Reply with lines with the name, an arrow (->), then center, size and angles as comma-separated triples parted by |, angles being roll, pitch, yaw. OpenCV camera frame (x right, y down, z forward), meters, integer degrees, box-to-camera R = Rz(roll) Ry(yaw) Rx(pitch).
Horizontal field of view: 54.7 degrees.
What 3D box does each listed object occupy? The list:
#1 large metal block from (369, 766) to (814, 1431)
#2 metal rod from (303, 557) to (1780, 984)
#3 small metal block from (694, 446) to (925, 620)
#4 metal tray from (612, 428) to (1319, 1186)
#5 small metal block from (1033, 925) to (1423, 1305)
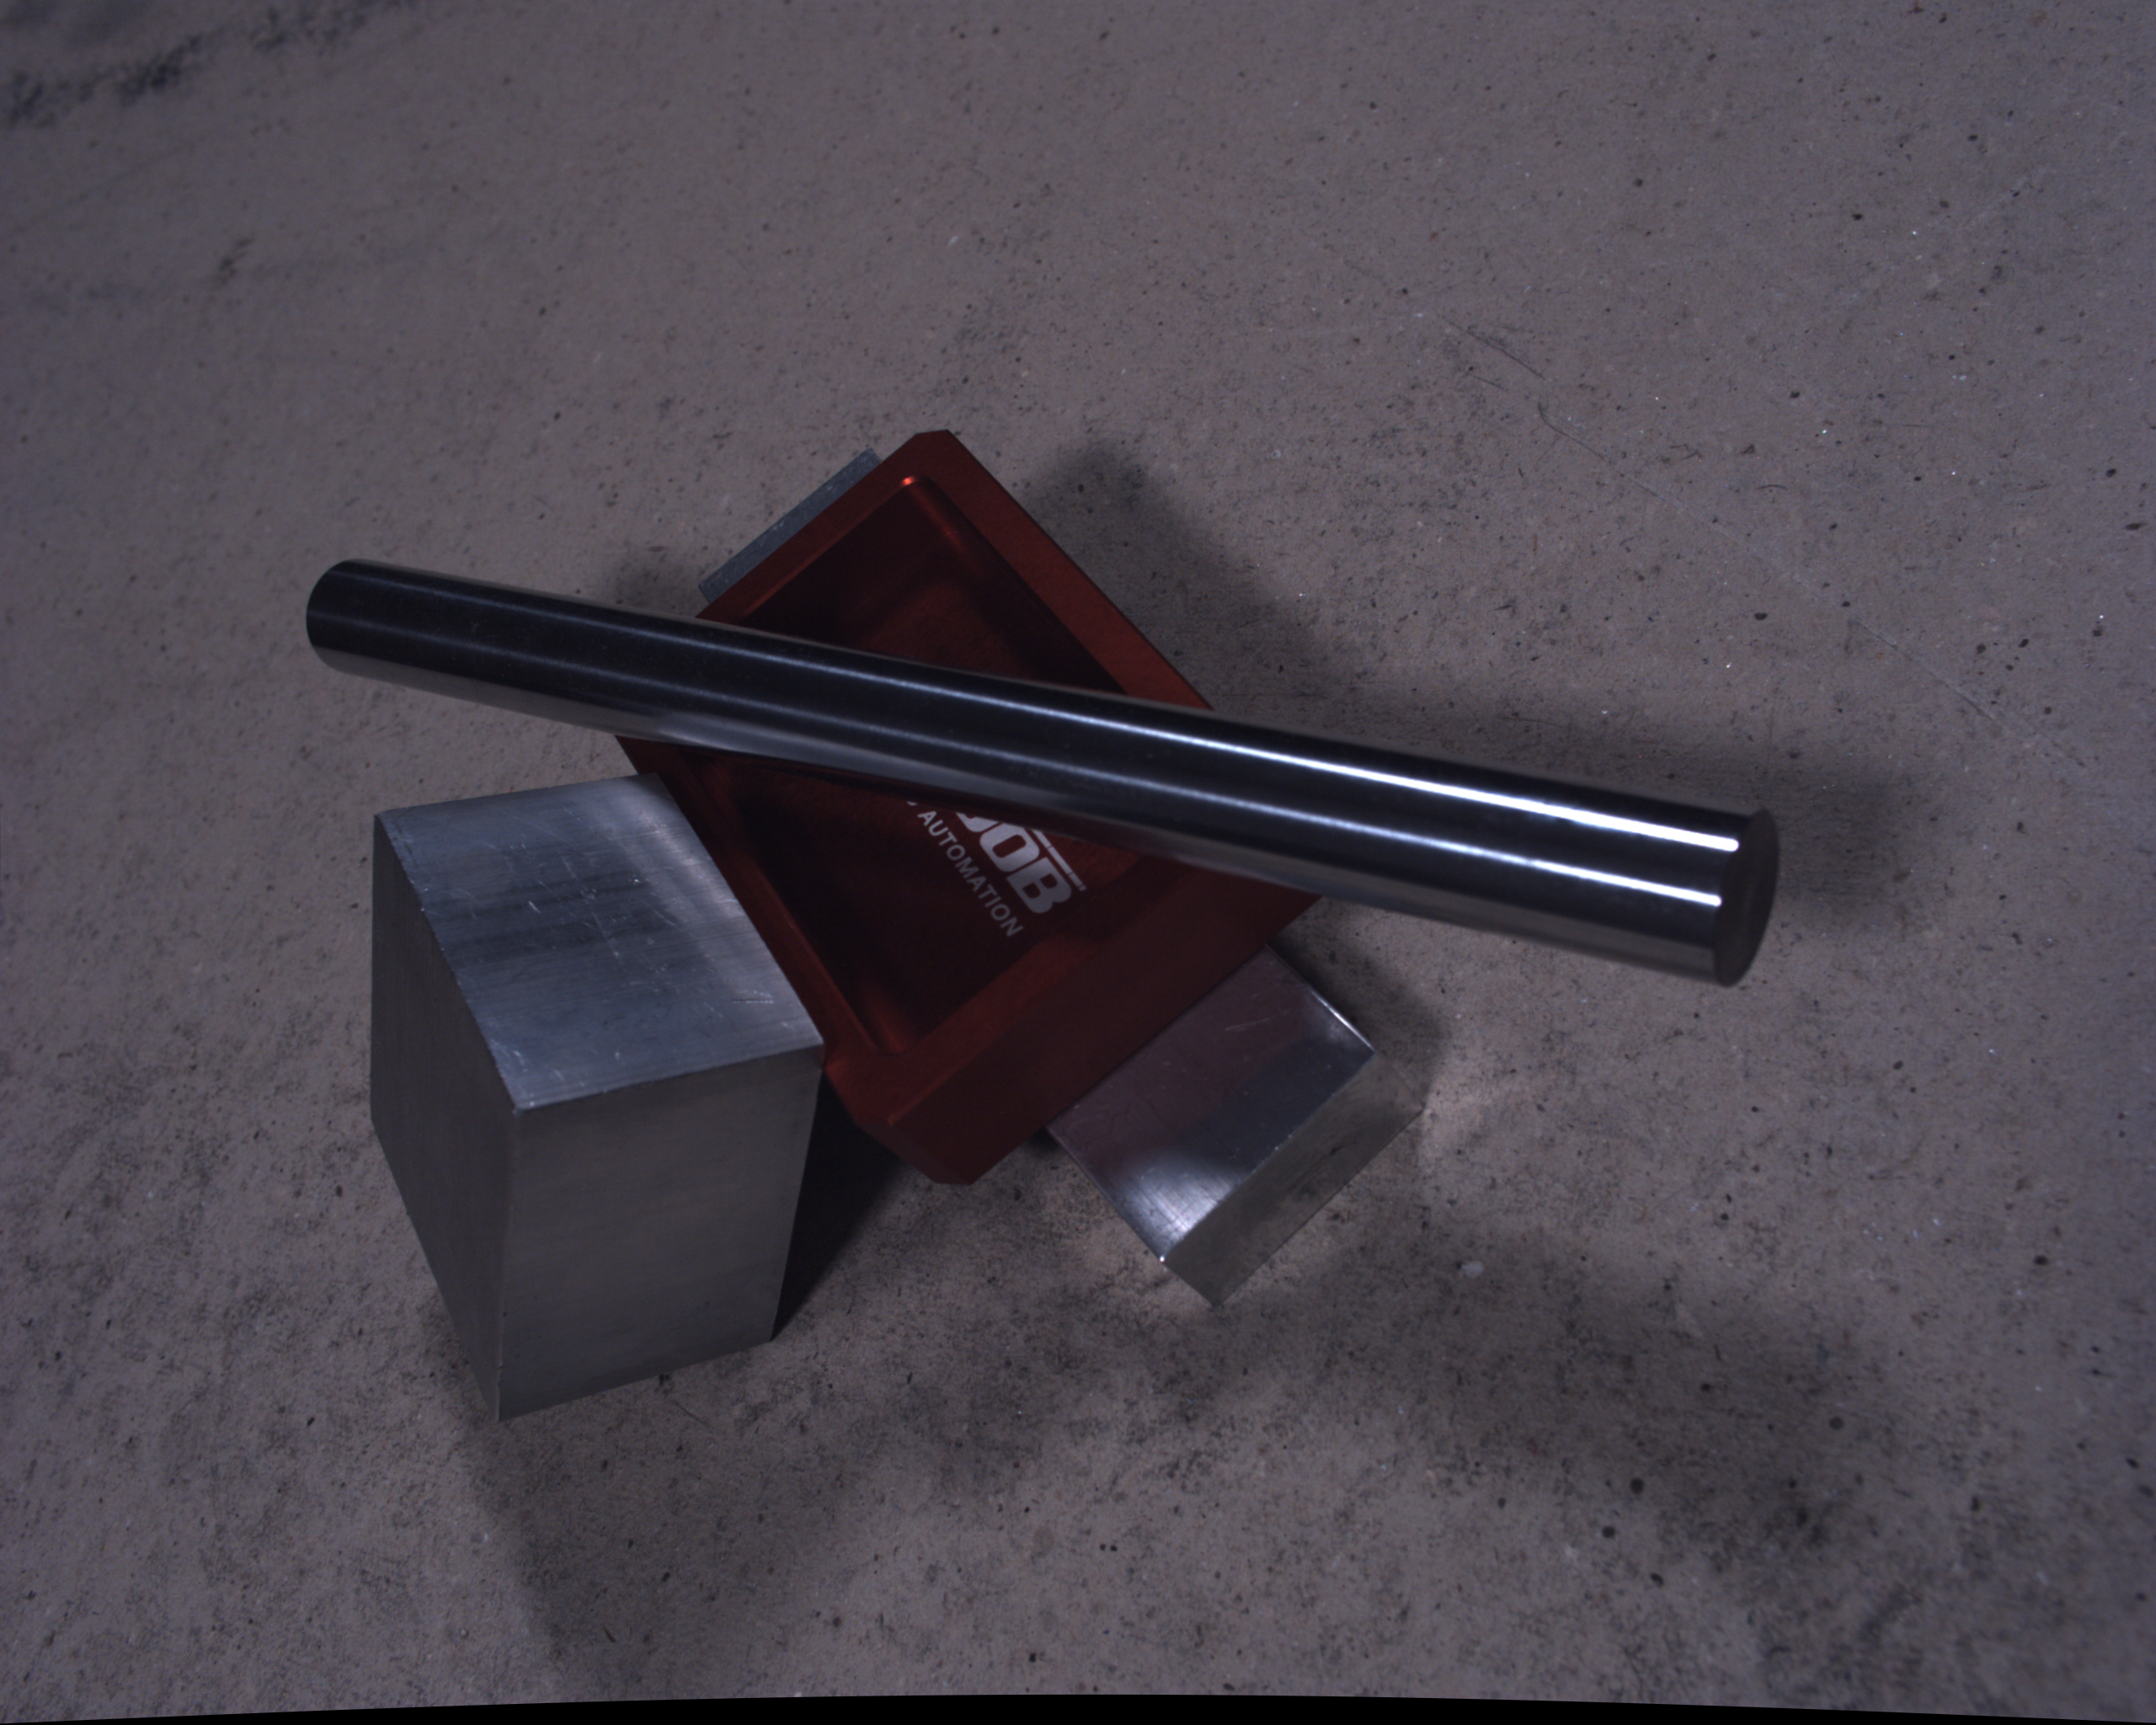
large metal block -> -0.093, 0.041, 0.381 | 0.050, 0.079, 0.080 | -11, 43, -30
metal rod -> -0.032, -0.024, 0.365 | 0.300, 0.025, 0.025 | 13, 68, 33
small metal block -> -0.050, -0.057, 0.465 | 0.050, 0.025, 0.050 | -39, 51, 2
metal tray -> -0.026, -0.015, 0.391 | 0.090, 0.030, 0.130 | -39, 51, 1
small metal block -> 0.023, 0.040, 0.368 | 0.050, 0.025, 0.050 | -43, 51, -2
